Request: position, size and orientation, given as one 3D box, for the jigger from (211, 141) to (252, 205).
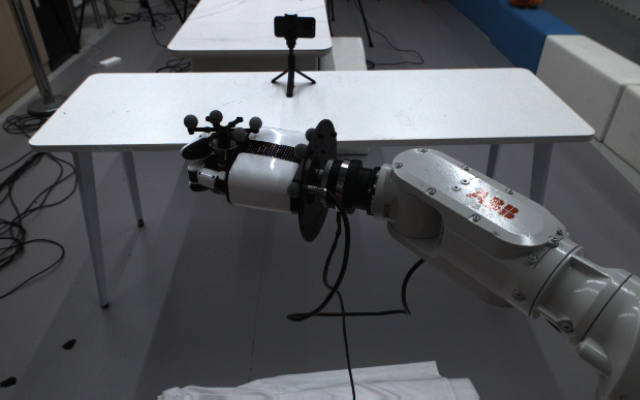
[{"bbox_3d":[-0.124,-0.047,0.653,0.043,0.071,0.043,4,31,-2],"label":"jigger"}]
